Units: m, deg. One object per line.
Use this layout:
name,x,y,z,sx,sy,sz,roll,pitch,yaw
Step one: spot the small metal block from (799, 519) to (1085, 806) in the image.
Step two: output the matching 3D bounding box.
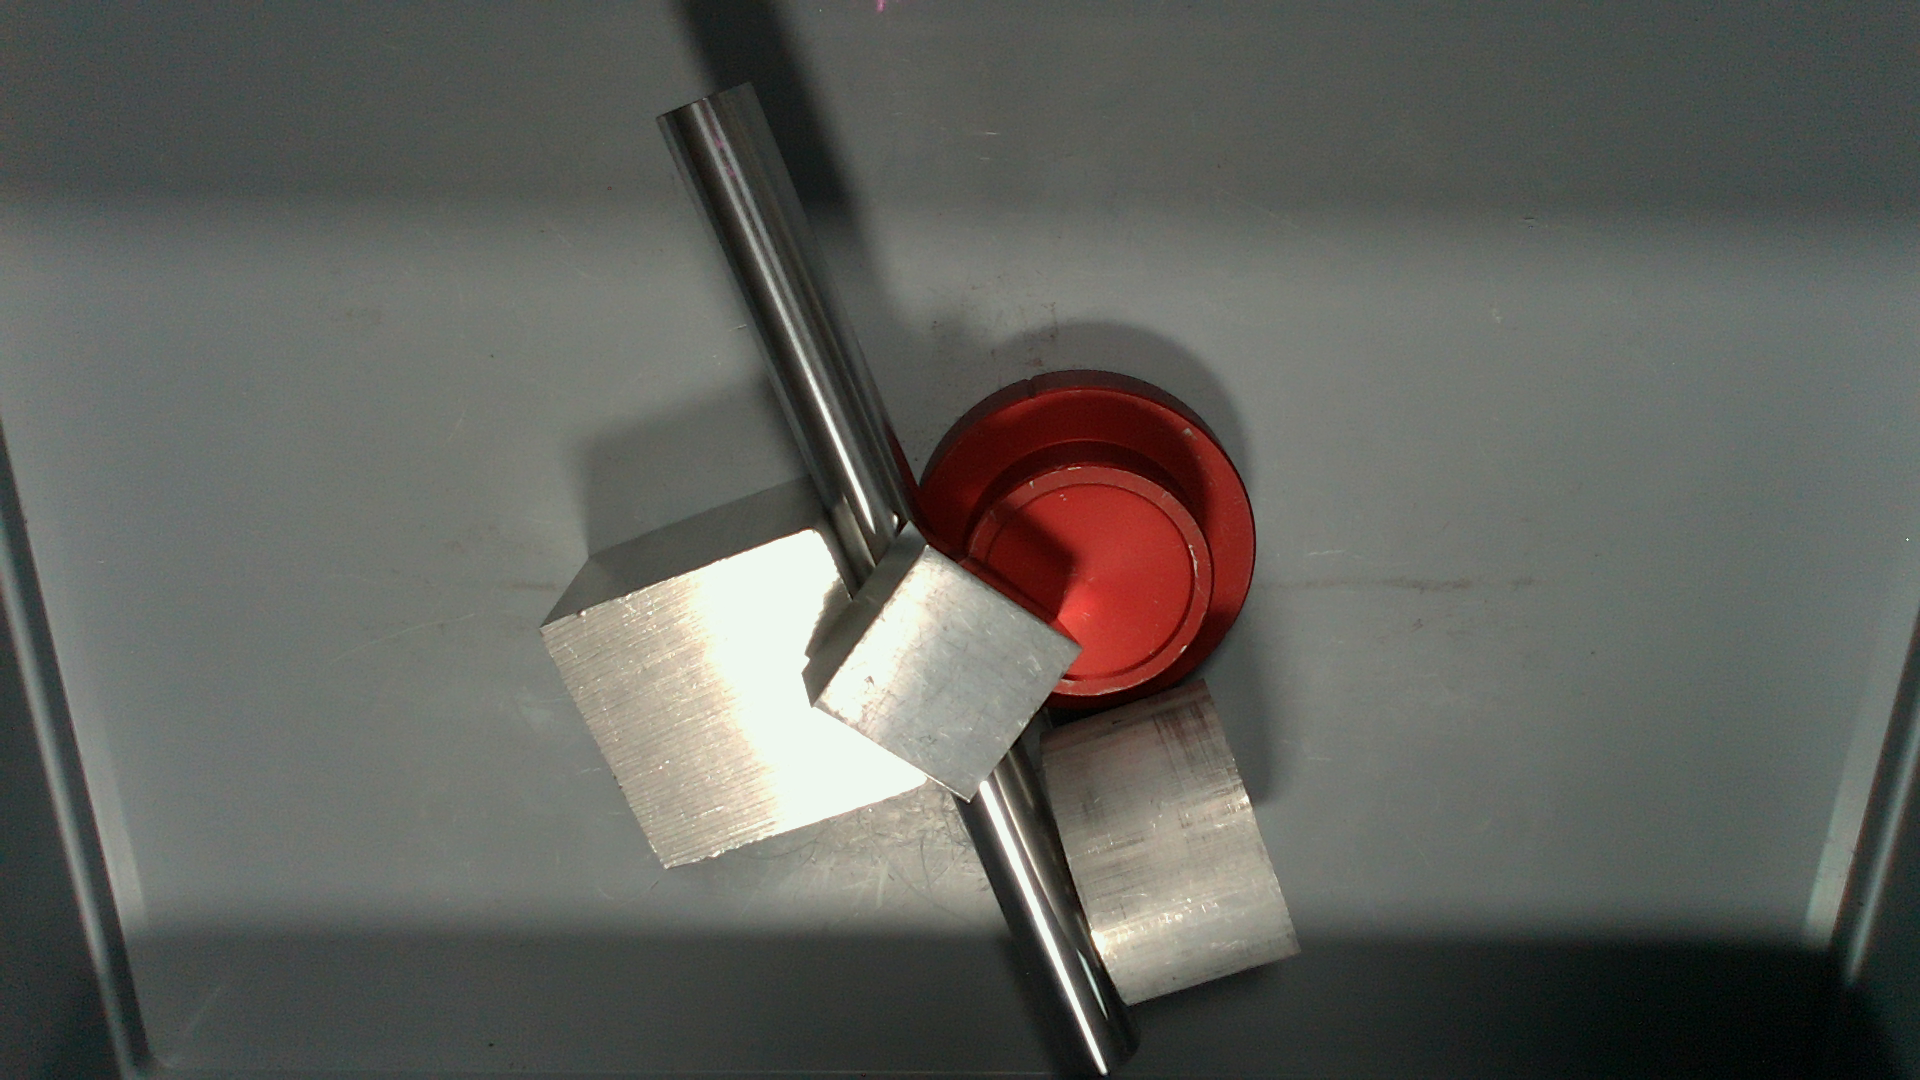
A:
small metal block,-0.005,0.031,0.353,0.050,0.025,0.050,34,95,-19

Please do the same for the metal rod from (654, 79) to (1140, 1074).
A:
metal rod,-0.009,0.025,0.380,0.025,0.025,0.300,-20,109,7

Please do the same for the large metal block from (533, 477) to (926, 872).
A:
large metal block,-0.059,0.036,0.390,0.080,0.050,0.080,-19,109,7

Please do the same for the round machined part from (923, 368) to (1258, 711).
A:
round machined part,0.035,0.004,0.385,0.098,0.042,0.098,0,110,0

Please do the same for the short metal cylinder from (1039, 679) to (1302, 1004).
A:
short metal cylinder,0.060,0.086,0.395,0.050,0.080,0.080,-20,109,7
